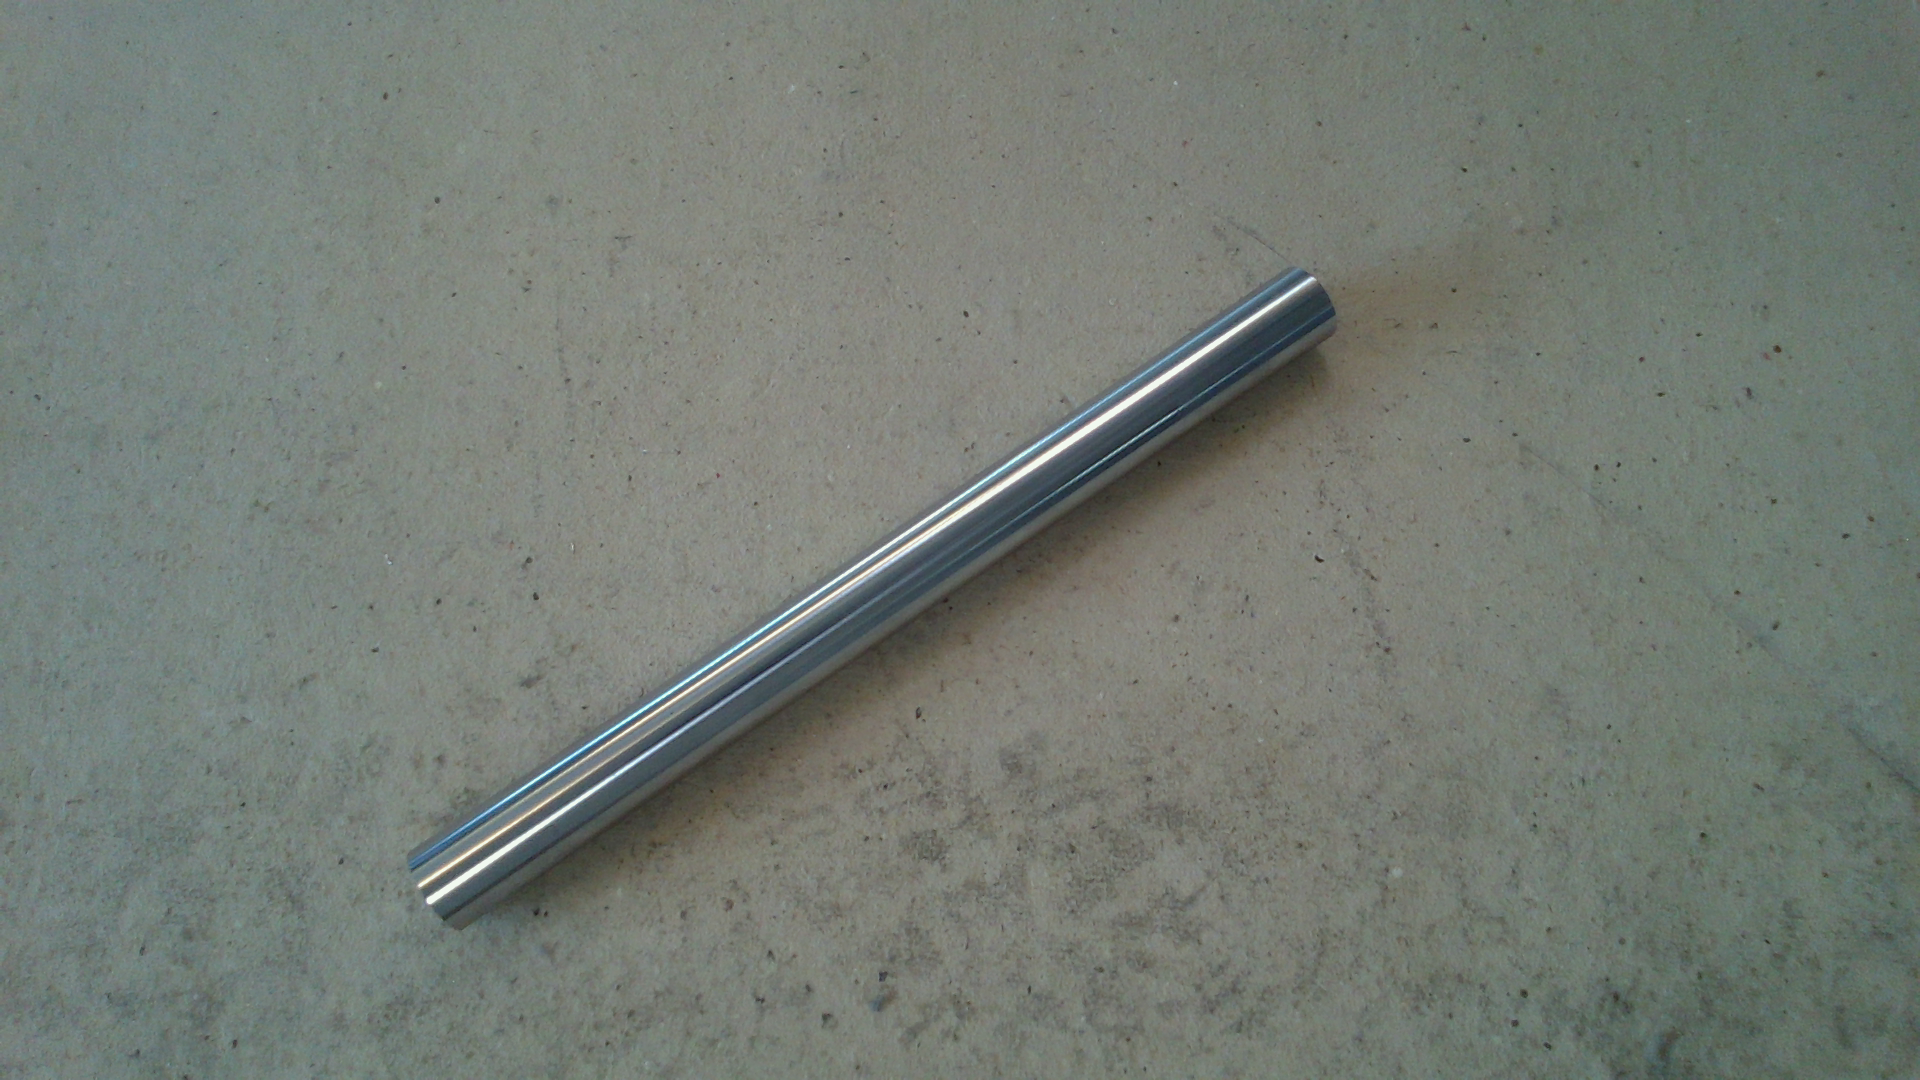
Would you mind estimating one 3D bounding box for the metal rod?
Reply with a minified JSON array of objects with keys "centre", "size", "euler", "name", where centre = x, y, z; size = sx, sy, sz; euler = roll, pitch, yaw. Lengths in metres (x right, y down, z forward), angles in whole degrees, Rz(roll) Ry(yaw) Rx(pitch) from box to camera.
[{"centre":[-0.016,0.010,0.391],"size":[0.300,0.025,0.025],"euler":[-34,73,-12],"name":"metal rod"}]
